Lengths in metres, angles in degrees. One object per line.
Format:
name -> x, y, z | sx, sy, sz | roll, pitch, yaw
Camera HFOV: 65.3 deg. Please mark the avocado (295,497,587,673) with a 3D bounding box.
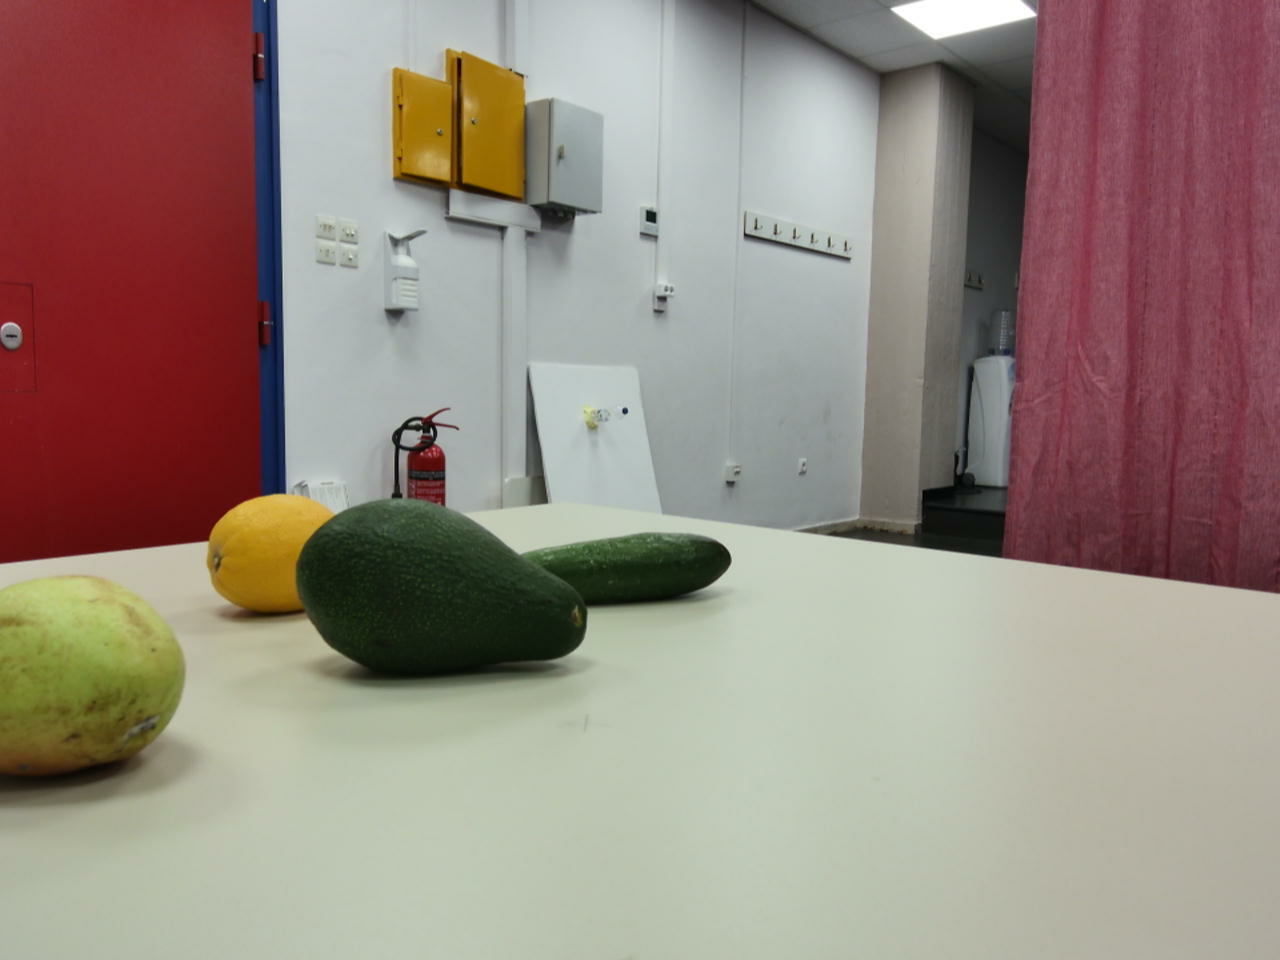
avocado -> -0.083, 0.042, 0.406 | 0.110, 0.071, 0.072 | 1, 4, 17
